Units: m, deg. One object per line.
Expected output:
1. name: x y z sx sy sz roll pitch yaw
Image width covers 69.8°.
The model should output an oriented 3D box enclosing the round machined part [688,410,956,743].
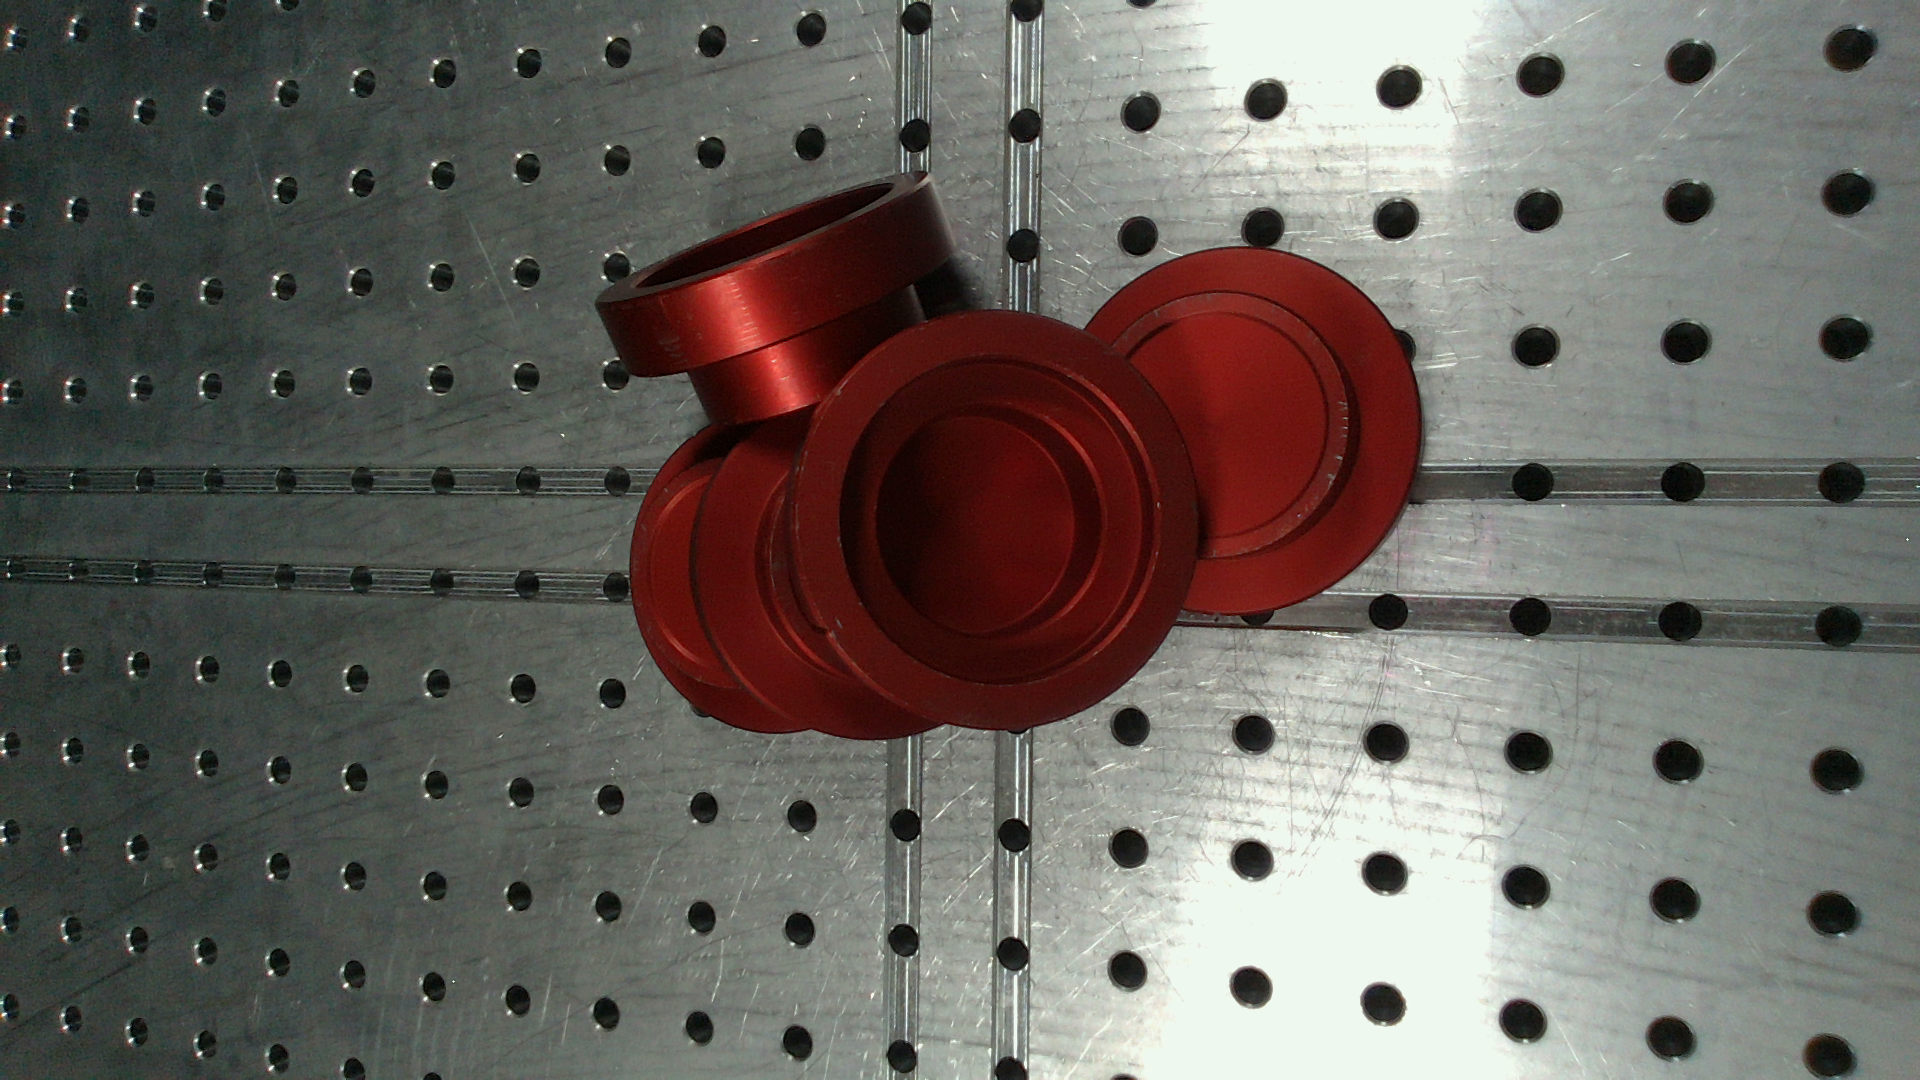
1. round machined part: -0.022 0.006 0.372 0.098 0.042 0.098 1 87 -17

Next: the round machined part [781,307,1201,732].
1. round machined part: 0.005 -0.005 0.336 0.098 0.042 0.098 0 89 -13

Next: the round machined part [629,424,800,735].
1. round machined part: -0.058 0.009 0.410 0.098 0.042 0.098 0 90 20

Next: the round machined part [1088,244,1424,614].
1. round machined part: 0.071 -0.029 0.364 0.098 0.042 0.098 0 90 20

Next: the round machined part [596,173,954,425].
1. round machined part: -0.047 -0.065 0.382 0.098 0.098 0.042 -13 111 20
